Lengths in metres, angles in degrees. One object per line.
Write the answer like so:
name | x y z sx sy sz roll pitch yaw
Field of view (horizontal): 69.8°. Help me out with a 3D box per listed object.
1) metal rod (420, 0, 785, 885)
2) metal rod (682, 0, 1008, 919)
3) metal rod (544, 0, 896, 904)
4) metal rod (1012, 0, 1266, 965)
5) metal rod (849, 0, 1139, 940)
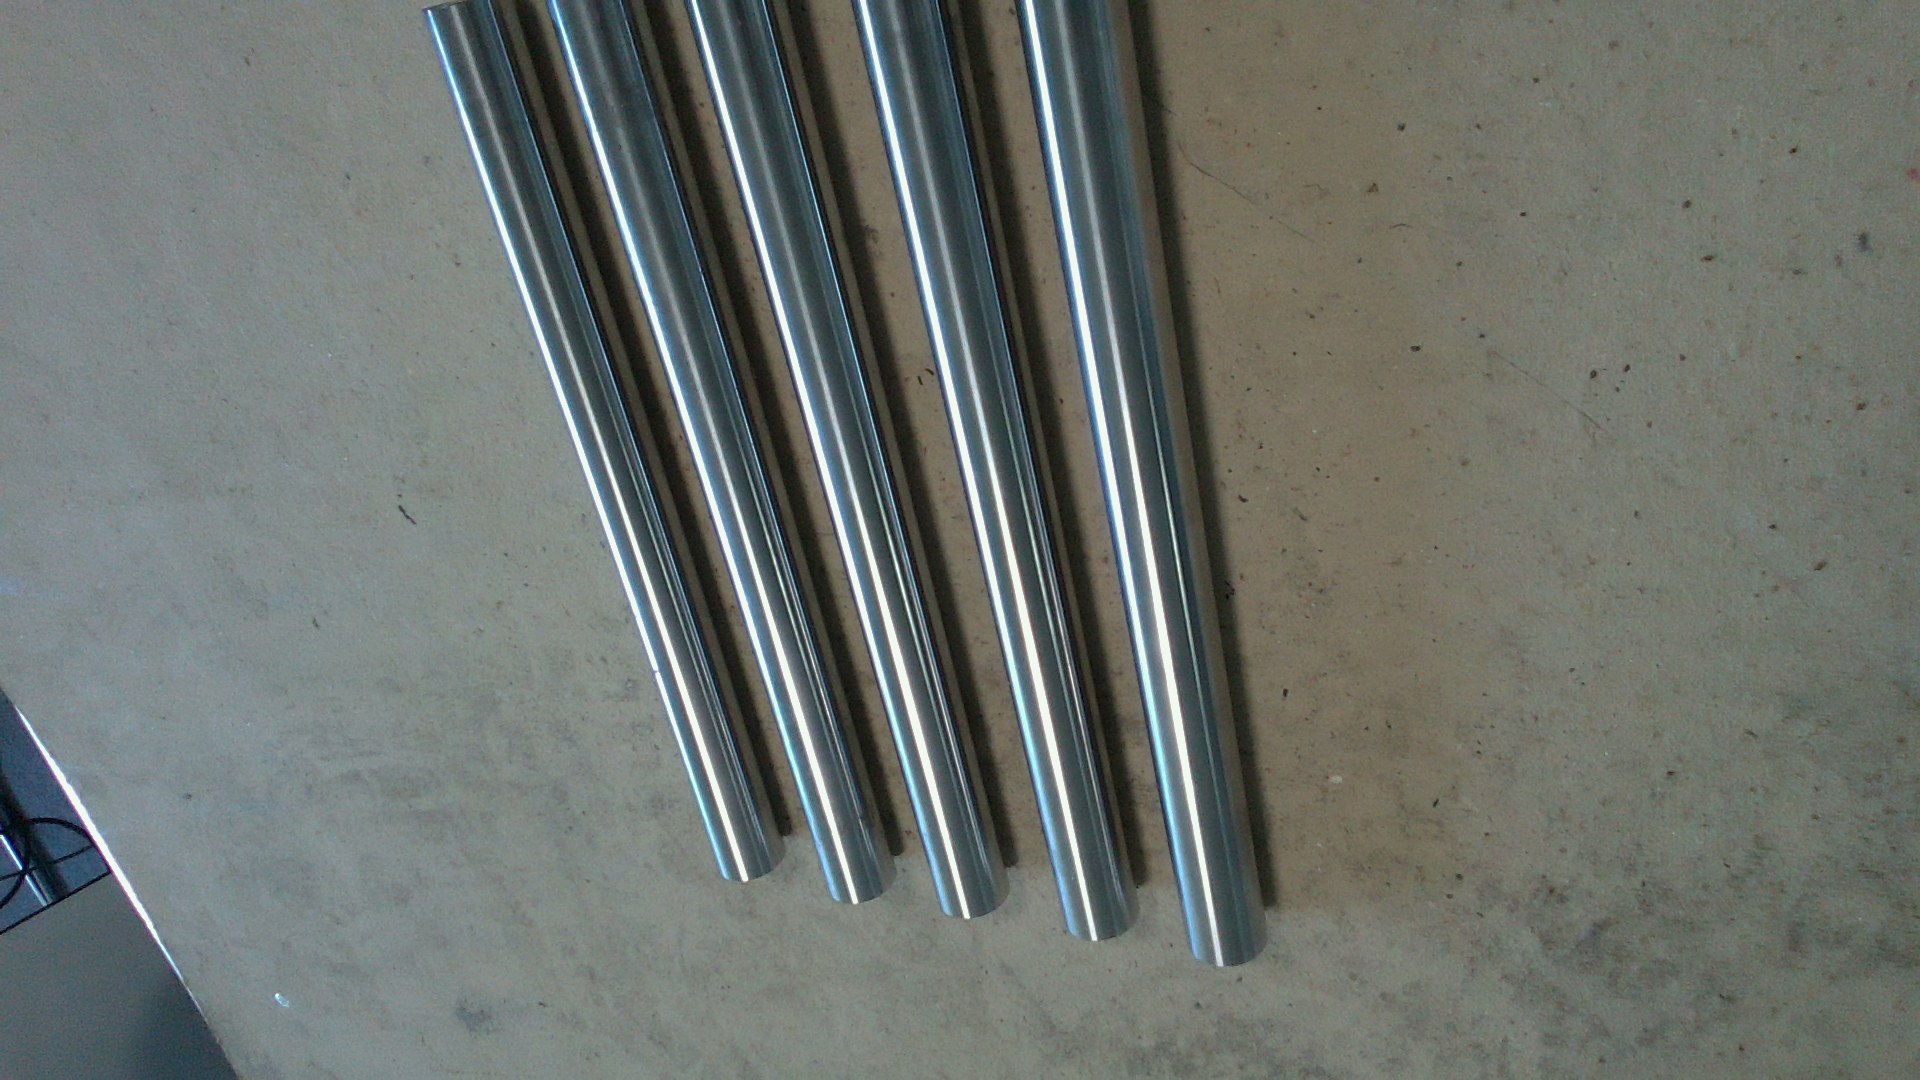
metal rod | -0.105 -0.014 0.439 0.025 0.025 0.300 2 119 27
metal rod | -0.027 -0.013 0.400 0.025 0.025 0.300 1 119 28
metal rod | -0.065 -0.012 0.420 0.025 0.025 0.300 1 119 28
metal rod | 0.050 -0.010 0.360 0.025 0.025 0.300 1 119 28
metal rod | 0.014 -0.012 0.378 0.025 0.025 0.300 1 119 28
